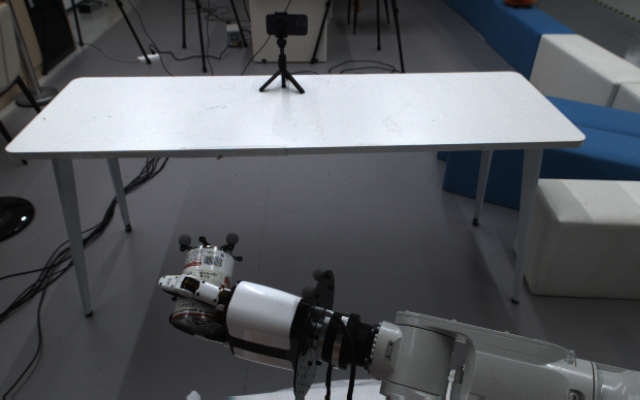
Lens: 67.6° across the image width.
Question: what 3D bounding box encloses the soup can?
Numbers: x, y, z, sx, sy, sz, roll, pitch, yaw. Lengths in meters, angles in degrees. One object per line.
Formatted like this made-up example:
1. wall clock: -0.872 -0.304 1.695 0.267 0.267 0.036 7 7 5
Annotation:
1. soup can: -0.154 0.121 0.645 0.067 0.067 0.101 2 56 1
